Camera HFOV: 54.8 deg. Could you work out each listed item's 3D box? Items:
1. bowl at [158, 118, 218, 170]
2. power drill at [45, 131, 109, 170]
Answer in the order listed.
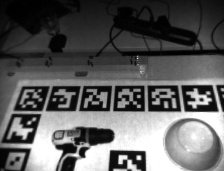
[{"bbox_3d":[0.210,0.147,0.596,0.161,0.055,0.161,-5,48,6],"label":"bowl"},{"bbox_3d":[-0.102,0.212,0.578,0.184,0.058,0.186,0,53,3],"label":"power drill"}]
